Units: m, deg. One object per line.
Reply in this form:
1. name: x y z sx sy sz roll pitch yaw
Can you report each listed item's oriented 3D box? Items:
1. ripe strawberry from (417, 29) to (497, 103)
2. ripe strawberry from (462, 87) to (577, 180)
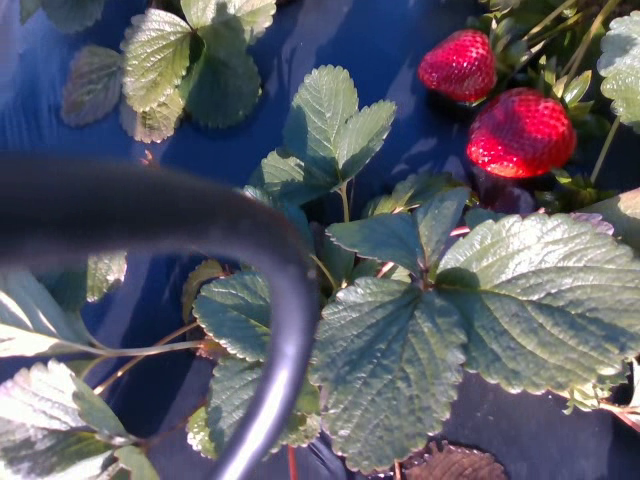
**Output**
1. ripe strawberry: 0.067 -0.089 0.330 0.051 0.037 0.043 -34 33 -25
2. ripe strawberry: 0.092 -0.046 0.304 0.057 0.046 0.052 -28 37 -22
